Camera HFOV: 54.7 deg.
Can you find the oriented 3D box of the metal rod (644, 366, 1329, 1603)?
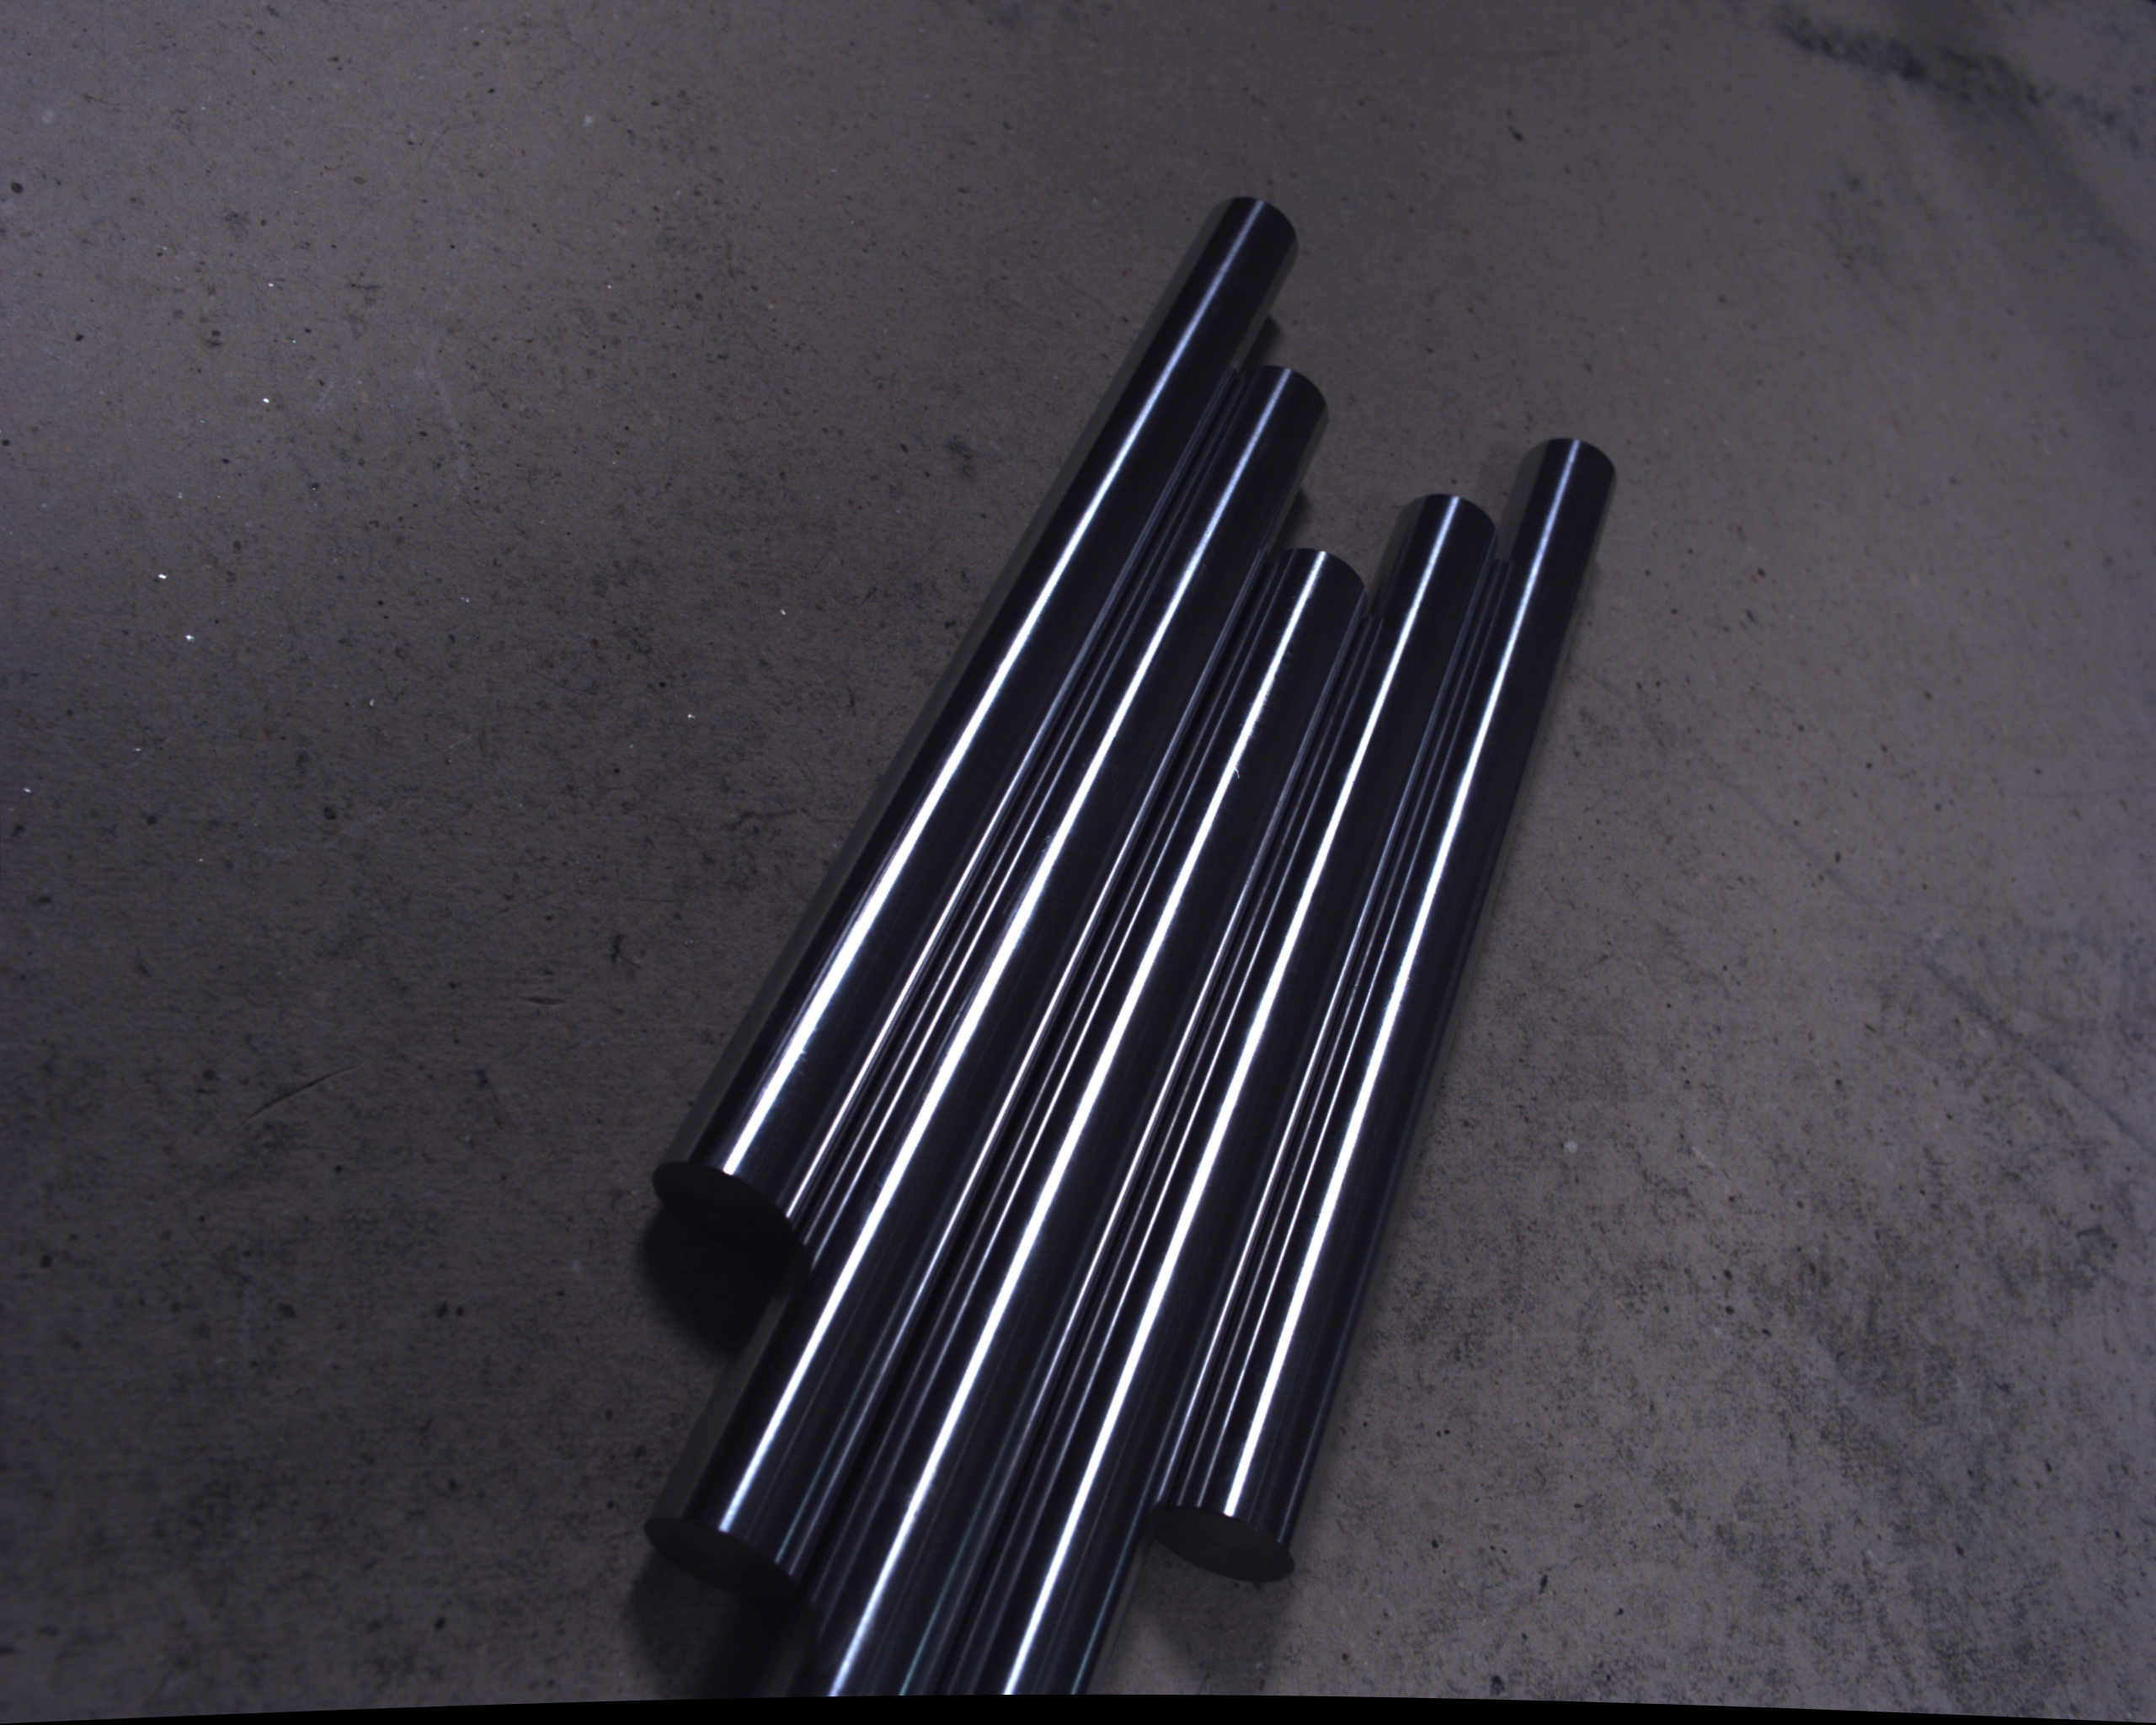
[{"bbox_3d":[-0.003,-0.002,0.406,0.025,0.025,0.301,32,51,-8],"label":"metal rod"}]

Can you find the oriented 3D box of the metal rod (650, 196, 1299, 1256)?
[{"bbox_3d":[-0.007,-0.050,0.433,0.025,0.025,0.301,32,52,-8],"label":"metal rod"}]

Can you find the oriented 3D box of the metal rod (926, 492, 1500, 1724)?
[{"bbox_3d":[0.038,0.028,0.410,0.025,0.025,0.301,32,52,-8],"label":"metal rod"}]

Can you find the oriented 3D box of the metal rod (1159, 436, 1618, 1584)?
[{"bbox_3d":[0.075,0.008,0.442,0.025,0.025,0.301,32,52,-8],"label":"metal rod"}]

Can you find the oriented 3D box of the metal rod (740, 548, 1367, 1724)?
[{"bbox_3d":[0.003,0.045,0.381,0.025,0.025,0.301,32,51,-8],"label":"metal rod"}]
